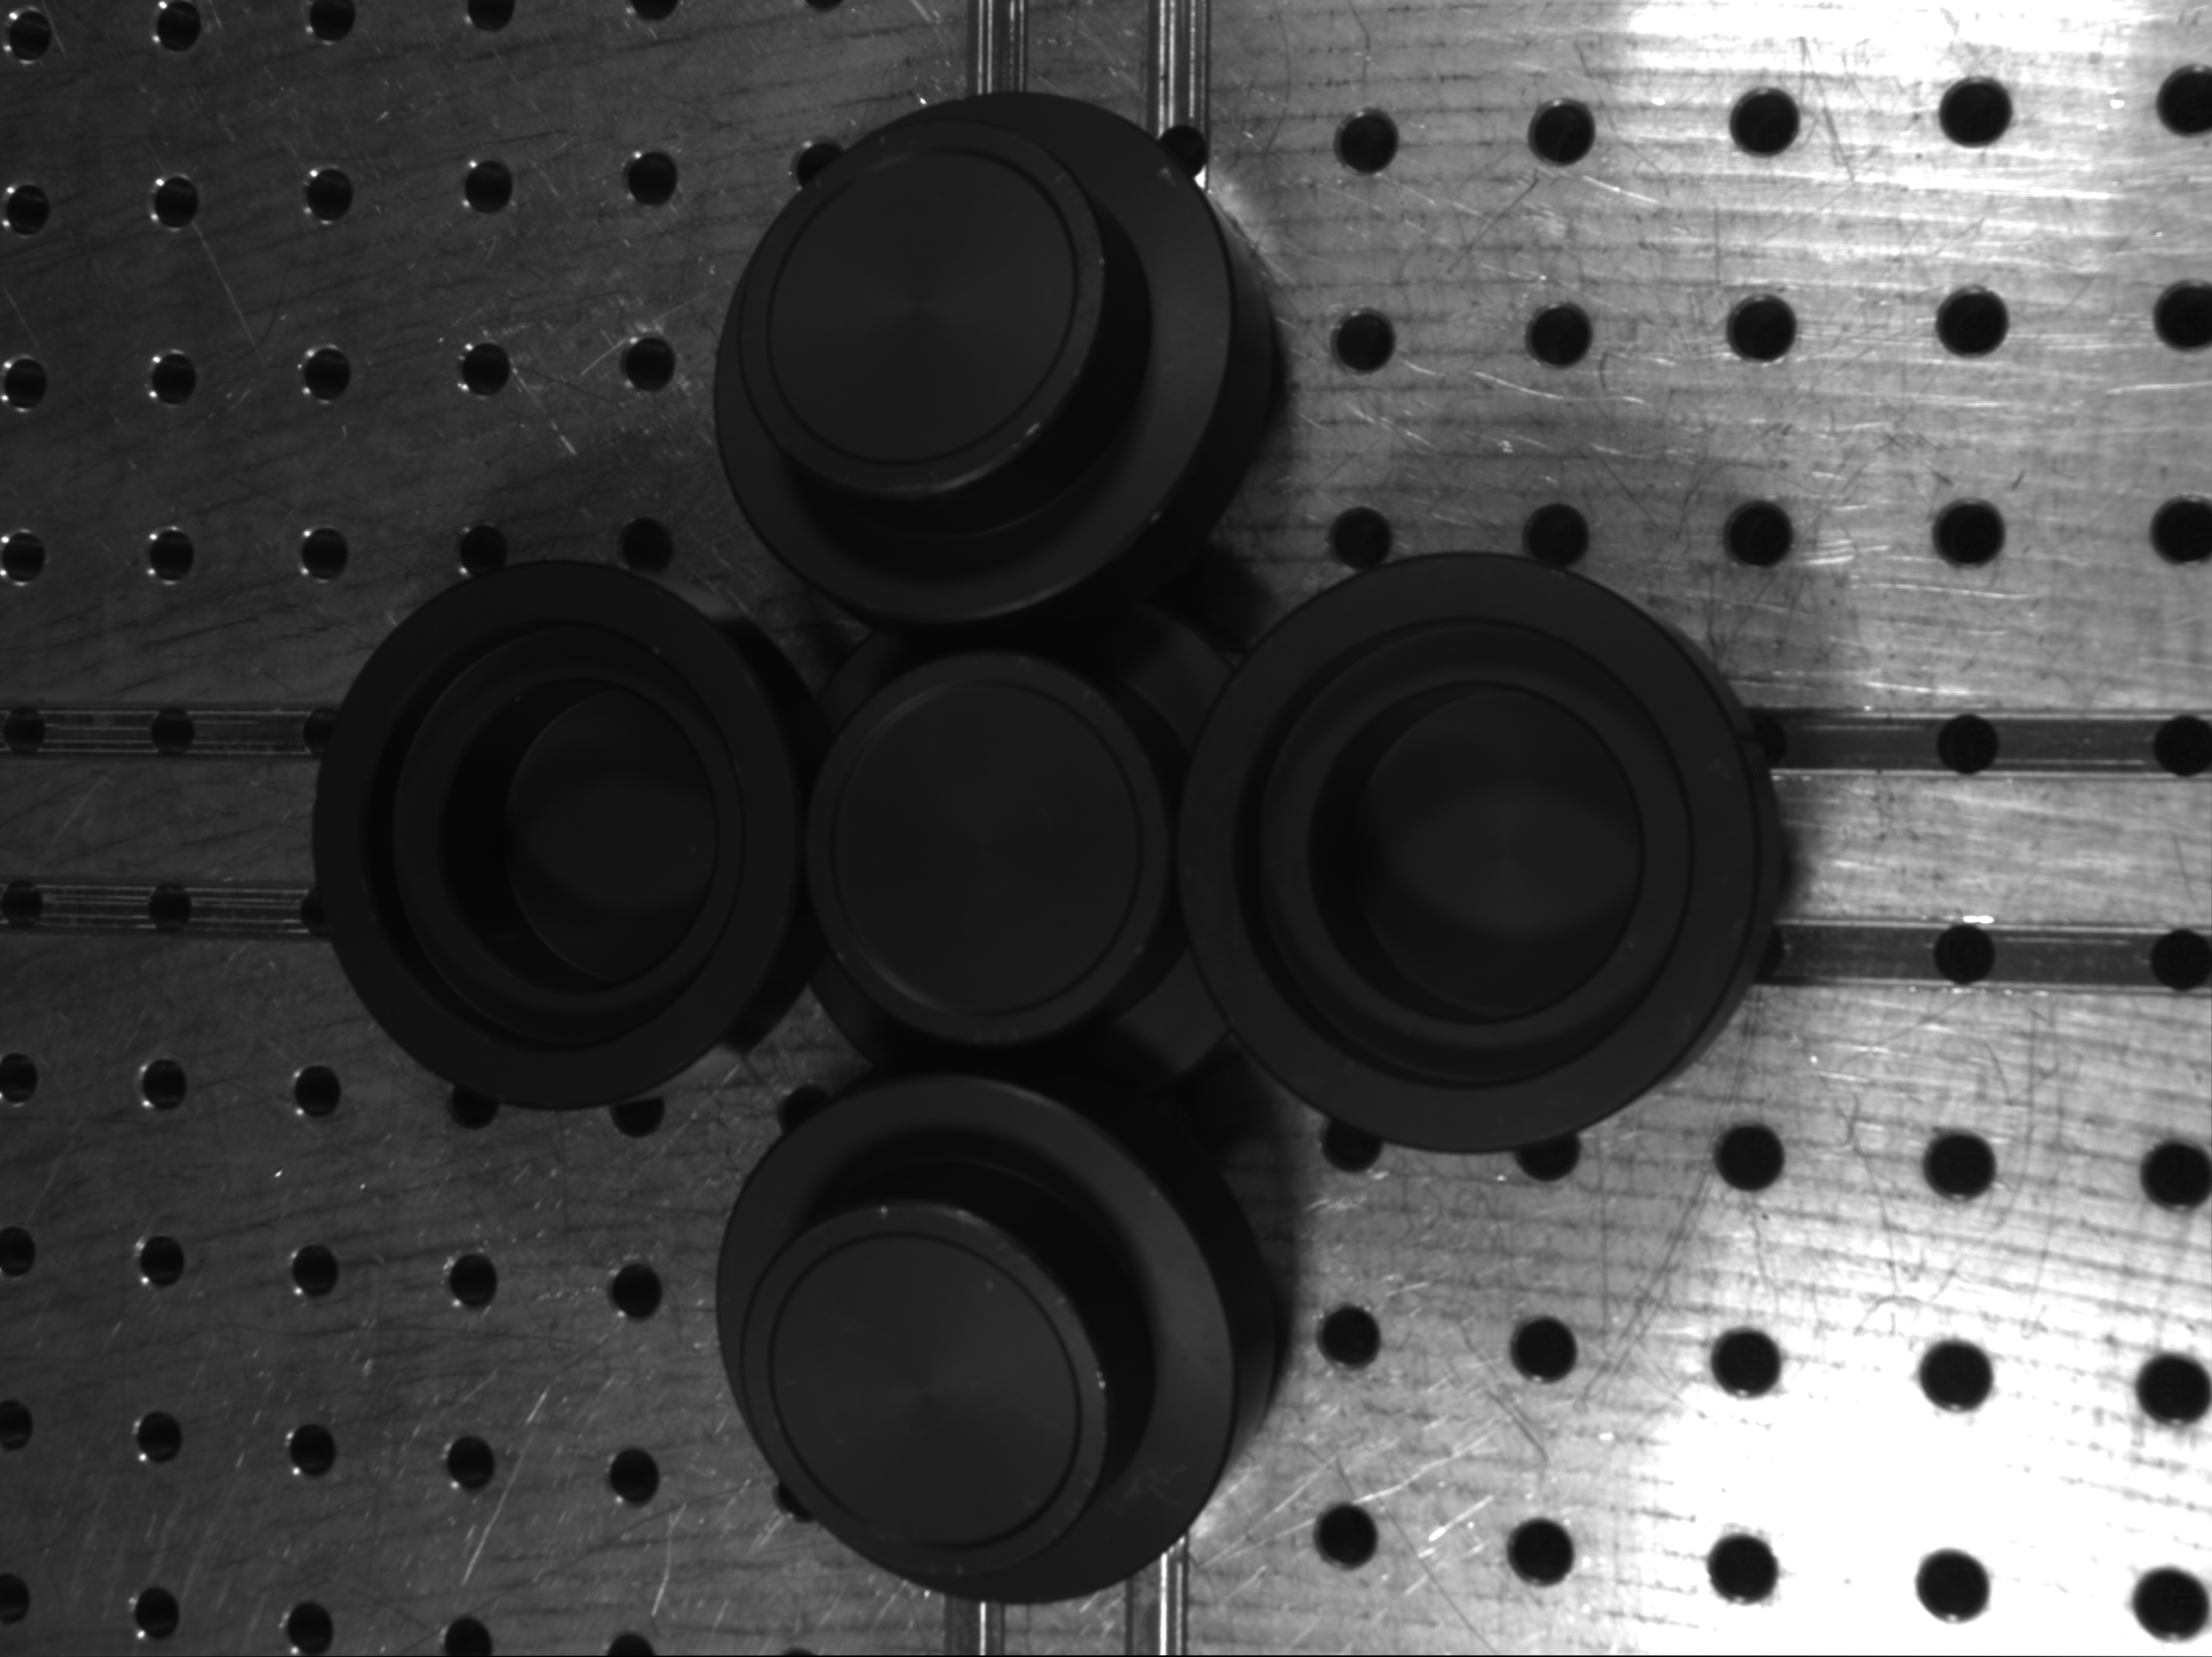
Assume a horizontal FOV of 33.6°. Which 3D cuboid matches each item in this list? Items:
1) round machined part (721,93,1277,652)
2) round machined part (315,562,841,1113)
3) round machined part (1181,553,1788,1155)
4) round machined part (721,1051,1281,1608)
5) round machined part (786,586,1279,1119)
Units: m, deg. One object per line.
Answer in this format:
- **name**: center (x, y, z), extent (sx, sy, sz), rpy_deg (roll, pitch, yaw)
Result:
- **round machined part**: center (-0.023, -0.083, 0.634), extent (0.098, 0.042, 0.098), rpy_deg (-6, 73, 20)
- **round machined part**: center (-0.091, 0.002, 0.670), extent (0.098, 0.042, 0.098), rpy_deg (0, 90, 20)
- **round machined part**: center (0.065, 0.004, 0.614), extent (0.098, 0.042, 0.098), rpy_deg (0, 90, 20)
- **round machined part**: center (-0.022, 0.090, 0.633), extent (0.098, 0.042, 0.098), rpy_deg (5, 106, 18)
- **round machined part**: center (-0.014, 0.004, 0.642), extent (0.098, 0.042, 0.098), rpy_deg (0, 90, 20)
